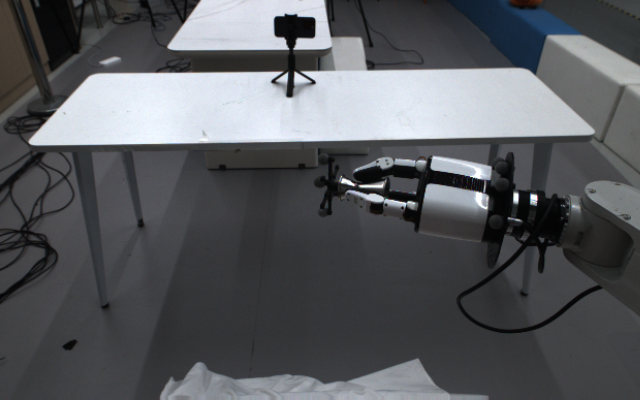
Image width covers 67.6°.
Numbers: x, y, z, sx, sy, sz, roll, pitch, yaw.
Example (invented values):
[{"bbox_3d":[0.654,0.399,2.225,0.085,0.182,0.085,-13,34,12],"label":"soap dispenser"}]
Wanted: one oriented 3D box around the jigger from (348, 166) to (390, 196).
[{"bbox_3d":[0.070,-0.018,0.699,0.071,0.043,0.043,6,34,16],"label":"jigger"}]
